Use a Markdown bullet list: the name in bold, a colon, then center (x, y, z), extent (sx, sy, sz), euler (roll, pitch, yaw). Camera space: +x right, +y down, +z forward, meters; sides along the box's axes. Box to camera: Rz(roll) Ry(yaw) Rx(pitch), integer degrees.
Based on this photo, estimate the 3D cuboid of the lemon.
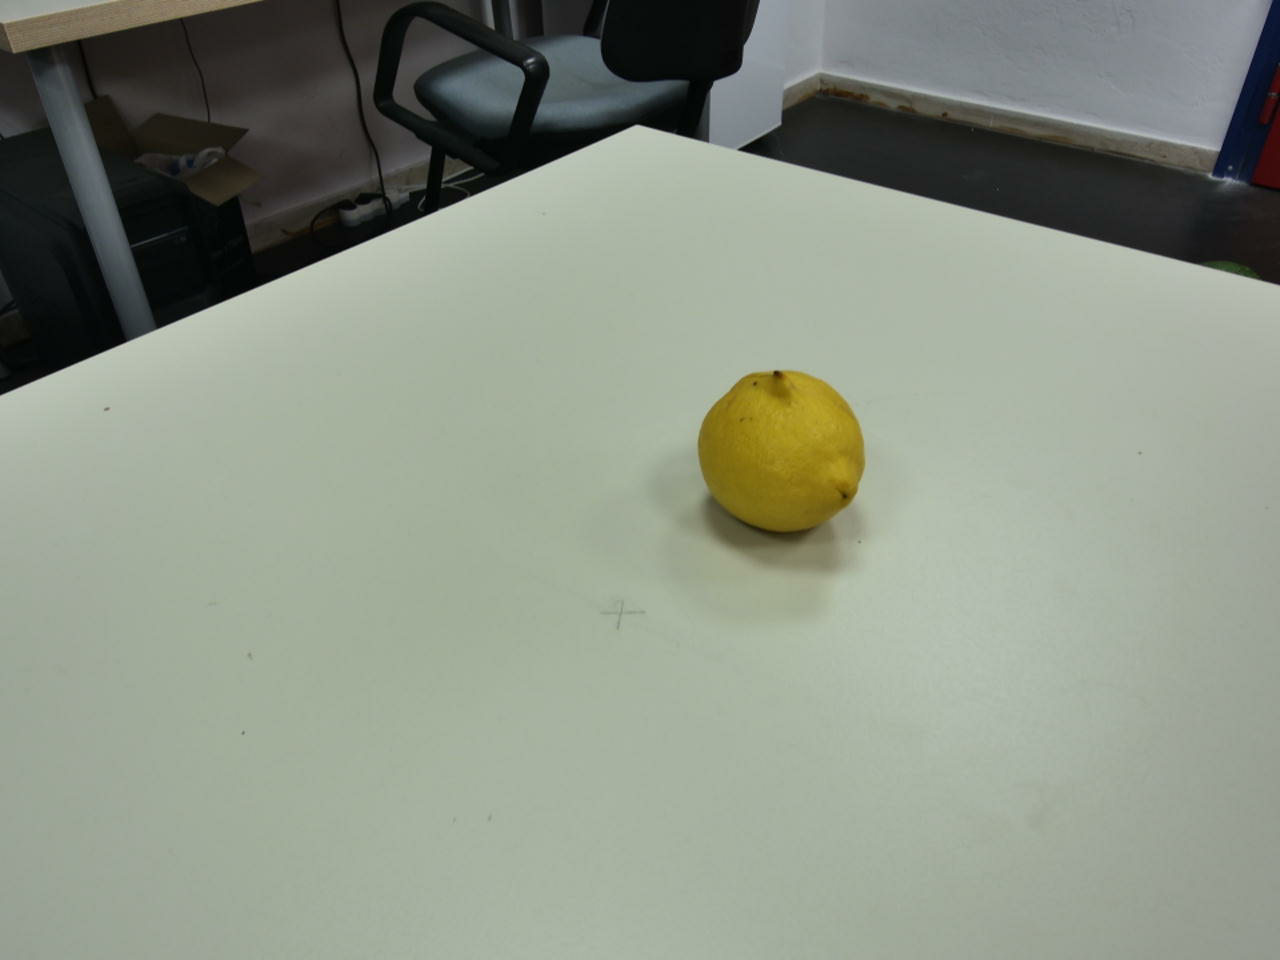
- **lemon**: center (0.060, -0.015, 0.426), extent (0.070, 0.071, 0.071), euler (4, 36, 5)
